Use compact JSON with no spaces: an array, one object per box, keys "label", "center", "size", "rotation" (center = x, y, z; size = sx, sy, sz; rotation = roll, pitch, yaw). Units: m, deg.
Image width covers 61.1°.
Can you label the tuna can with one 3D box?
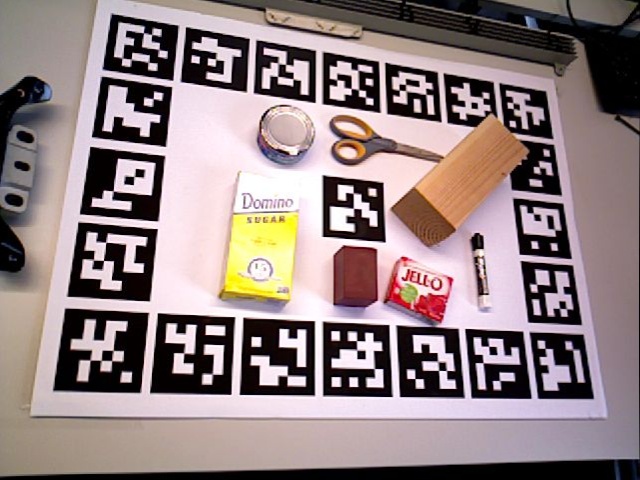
[{"label":"tuna can","center":[-0.054,-0.149,0.821],"size":[0.085,0.034,0.085],"rotation":[4,73,-14]}]

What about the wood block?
[{"label":"wood block","center":[0.228,-0.071,0.850],"size":[0.202,0.092,0.090],"rotation":[-41,86,-23]}]

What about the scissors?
[{"label":"scissors","center":[0.109,-0.134,0.874],"size":[0.201,0.016,0.087],"rotation":[13,71,-9]}]

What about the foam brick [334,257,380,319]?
[{"label":"foam brick","center":[0.052,0.070,0.774],"size":[0.052,0.052,0.077],"rotation":[8,72,-13]}]

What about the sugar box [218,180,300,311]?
[{"label":"sugar box","center":[-0.084,0.008,0.765],"size":[0.092,0.046,0.175],"rotation":[11,71,-13]}]

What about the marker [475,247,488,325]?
[{"label":"marker","center":[0.252,0.070,0.848],"size":[0.019,0.020,0.120],"rotation":[7,74,-13]}]

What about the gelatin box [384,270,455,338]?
[{"label":"gelatin box","center":[0.148,0.095,0.808],"size":[0.089,0.030,0.072],"rotation":[24,70,-7]}]
